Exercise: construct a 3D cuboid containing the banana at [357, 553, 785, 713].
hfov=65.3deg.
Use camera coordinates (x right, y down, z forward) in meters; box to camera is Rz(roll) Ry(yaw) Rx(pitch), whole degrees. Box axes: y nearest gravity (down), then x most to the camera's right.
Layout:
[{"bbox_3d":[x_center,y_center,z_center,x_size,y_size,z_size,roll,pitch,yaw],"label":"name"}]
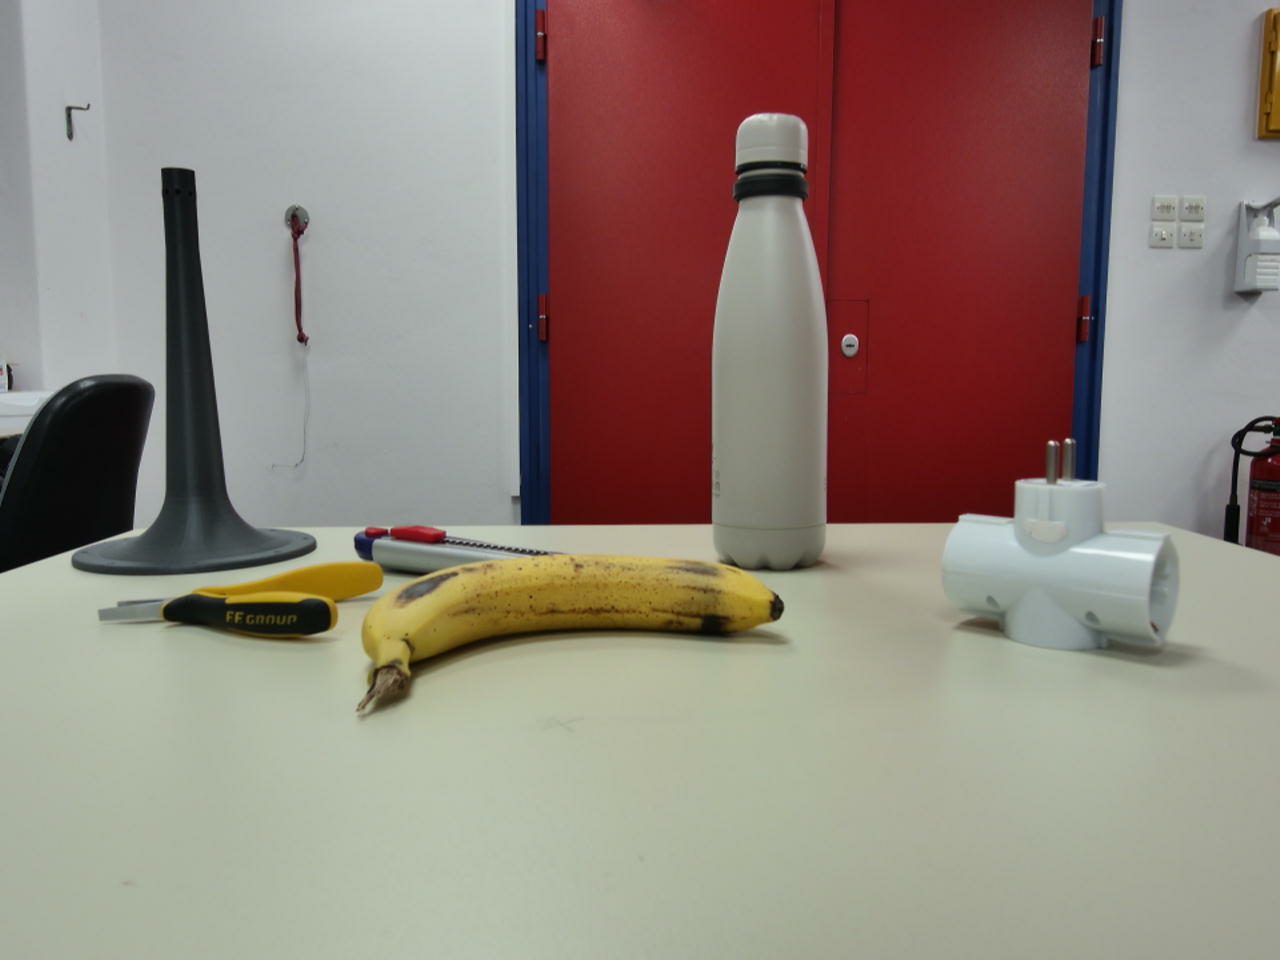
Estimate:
[{"bbox_3d":[-0.037,0.057,0.442,0.186,0.038,0.097,-3,5,-29],"label":"banana"}]
